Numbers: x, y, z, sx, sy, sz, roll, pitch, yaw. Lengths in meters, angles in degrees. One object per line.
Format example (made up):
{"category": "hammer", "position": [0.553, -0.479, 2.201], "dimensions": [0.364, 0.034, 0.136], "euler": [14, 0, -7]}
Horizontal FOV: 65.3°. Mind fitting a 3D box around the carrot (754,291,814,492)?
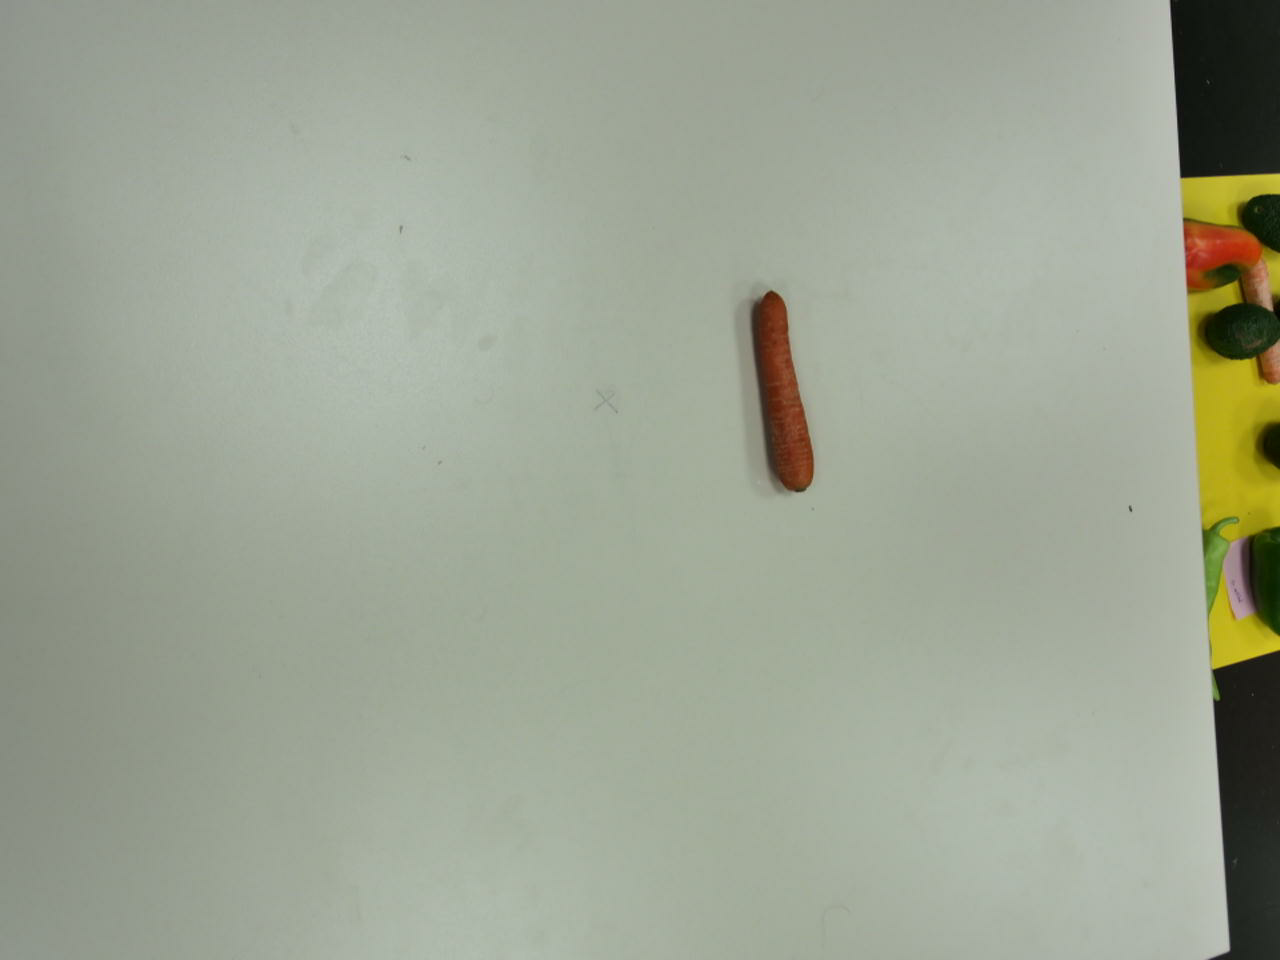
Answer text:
{"category": "carrot", "position": [0.086, -0.053, 0.597], "dimensions": [0.024, 0.023, 0.122], "euler": [-9, 94, -22]}
